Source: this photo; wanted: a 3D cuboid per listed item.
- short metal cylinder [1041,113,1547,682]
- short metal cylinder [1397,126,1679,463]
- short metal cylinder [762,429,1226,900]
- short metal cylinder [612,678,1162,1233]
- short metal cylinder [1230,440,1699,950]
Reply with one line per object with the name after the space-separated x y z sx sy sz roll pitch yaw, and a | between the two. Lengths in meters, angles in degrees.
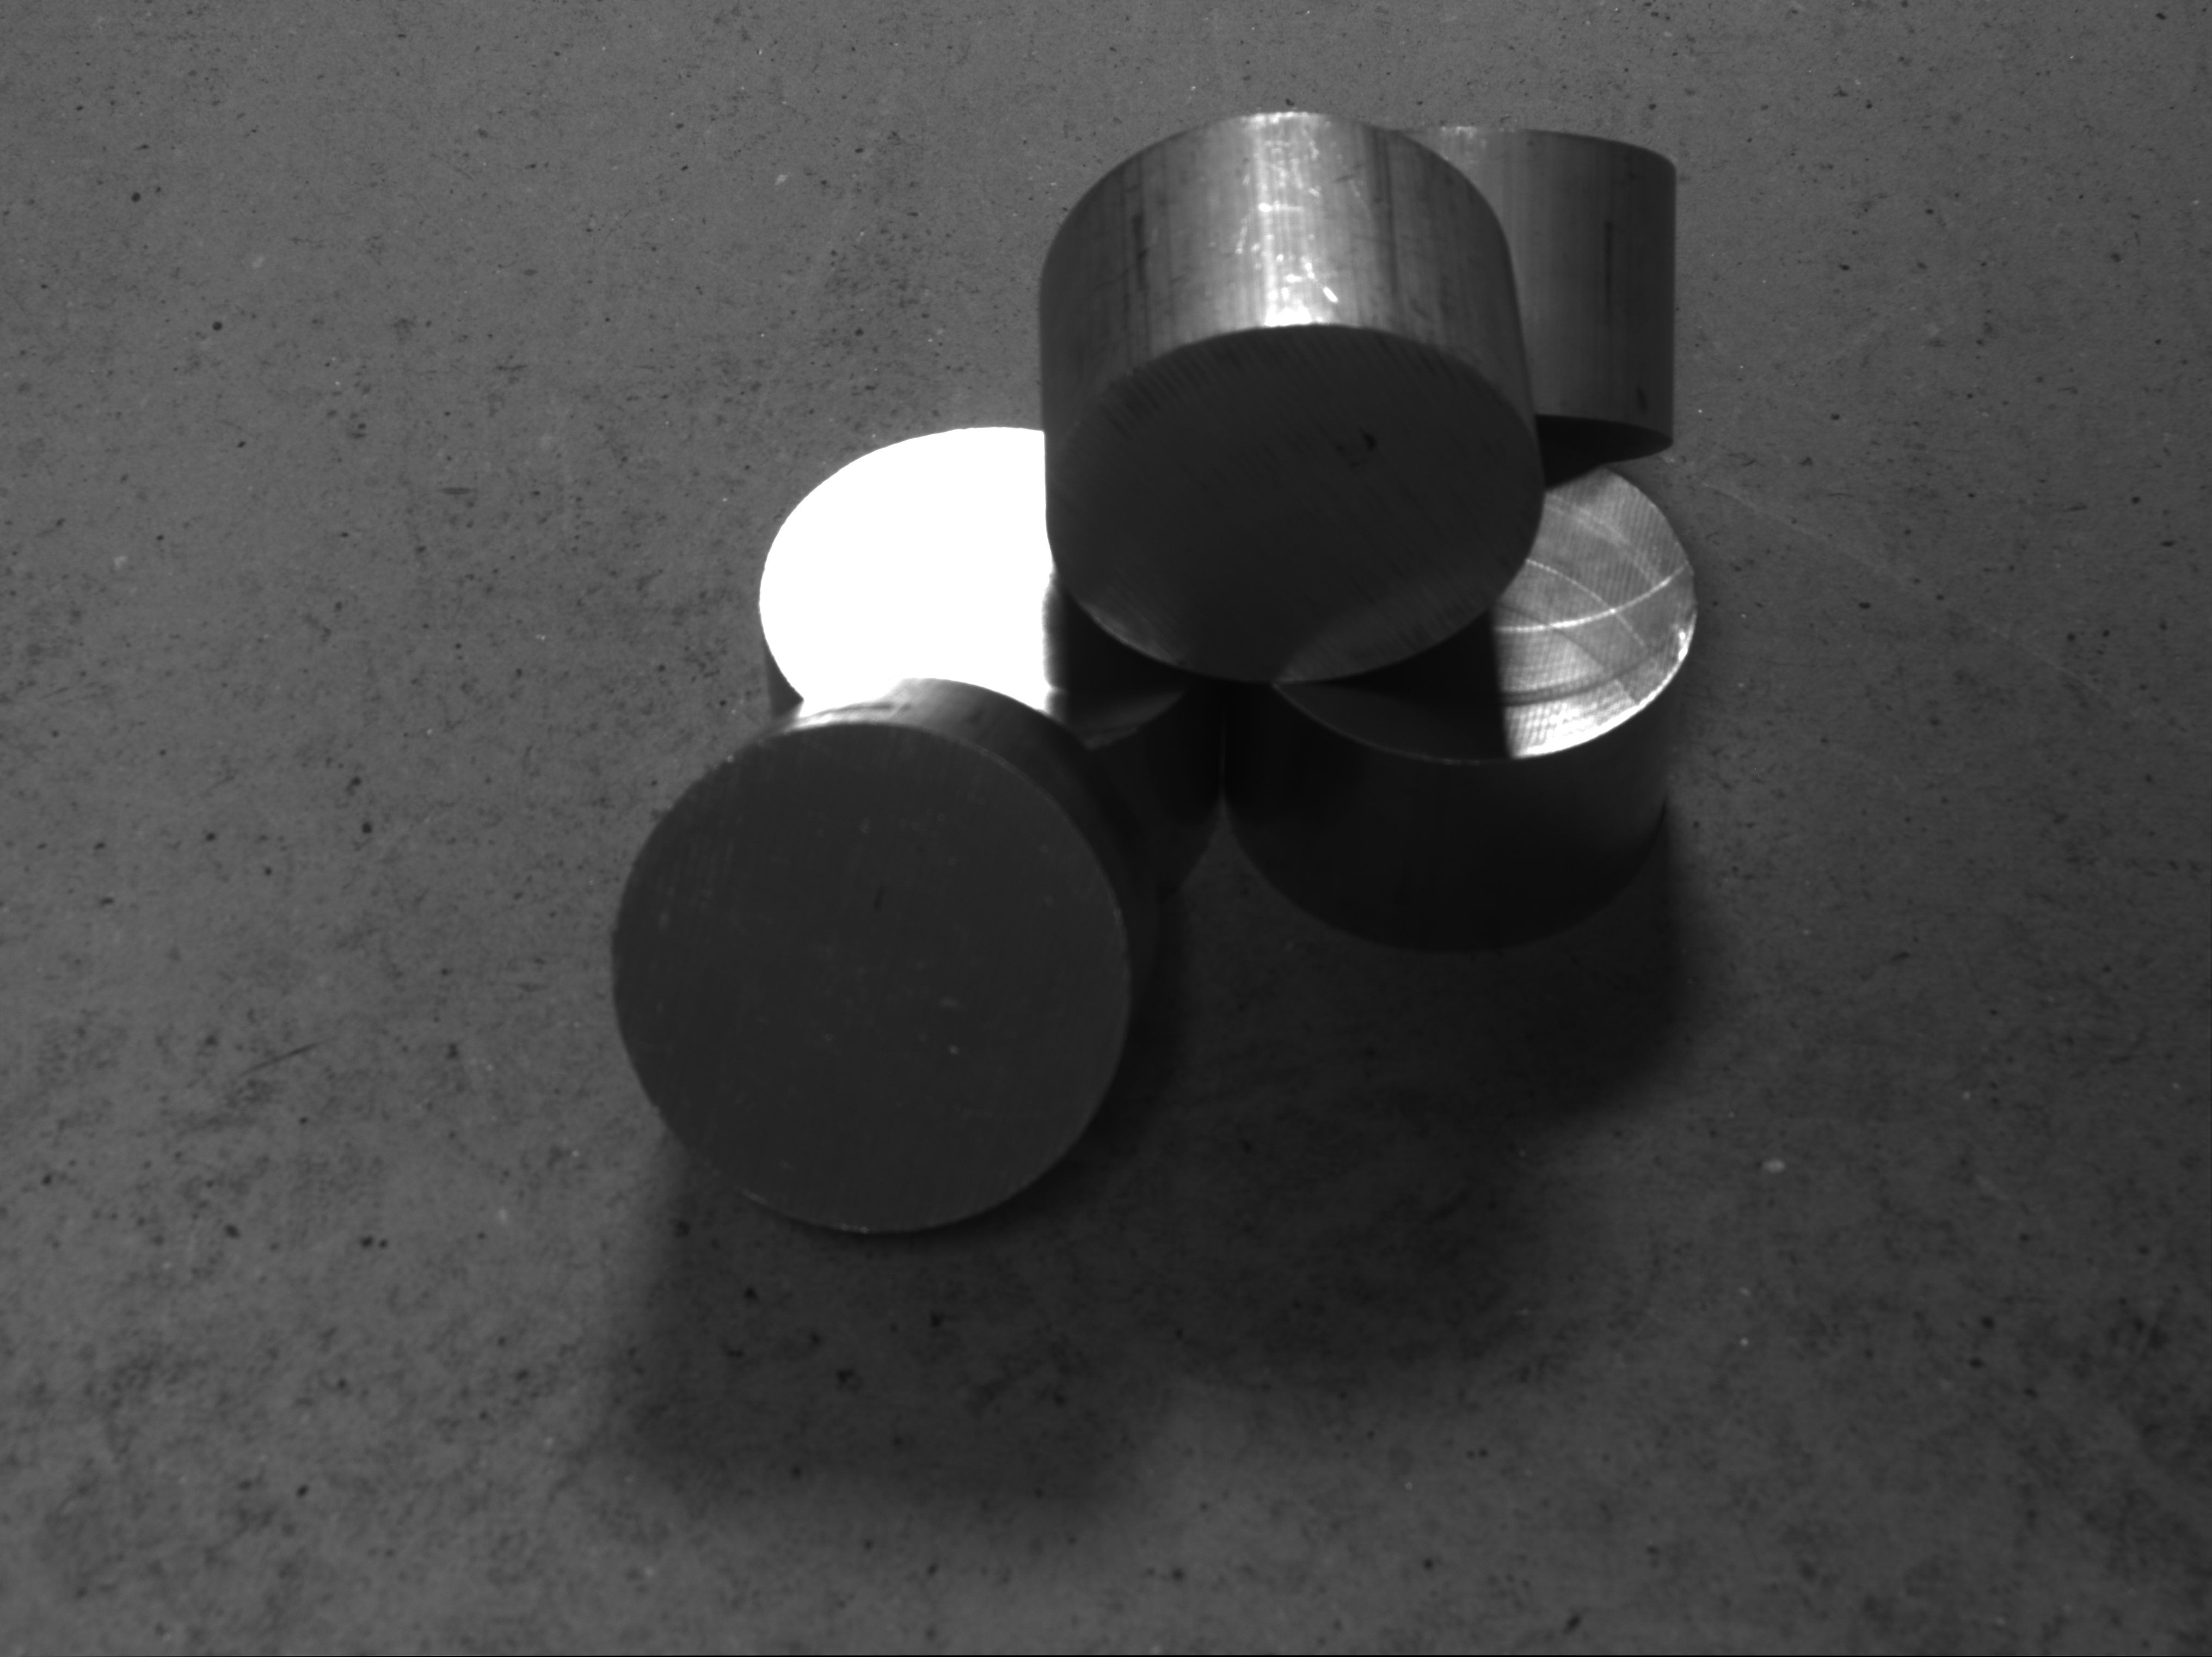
0.030 -0.069 0.599 0.080 0.080 0.050 -1 50 -1 | short metal cylinder
0.066 -0.096 0.678 0.080 0.080 0.050 0 88 1 | short metal cylinder
-0.019 -0.025 0.646 0.080 0.050 0.080 0 50 0 | short metal cylinder
-0.033 0.019 0.582 0.080 0.080 0.050 6 11 5 | short metal cylinder
0.062 -0.025 0.647 0.080 0.050 0.080 0 50 0 | short metal cylinder
